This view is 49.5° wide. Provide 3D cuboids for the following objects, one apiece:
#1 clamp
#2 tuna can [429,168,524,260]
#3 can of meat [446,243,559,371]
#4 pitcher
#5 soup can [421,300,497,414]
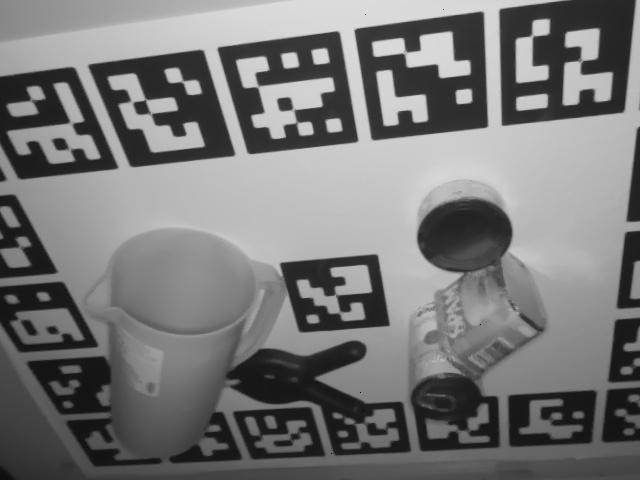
[{"bbox_3d":[-0.001,0.155,0.800,0.164,0.037,0.121,-2,129,10],"label":"clamp"},{"bbox_3d":[0.146,-0.025,0.652,0.086,0.034,0.085,2,123,4],"label":"tuna can"},{"bbox_3d":[0.174,0.060,0.664,0.058,0.103,0.082,41,115,-20],"label":"can of meat"},{"bbox_3d":[-0.135,0.110,0.704,0.191,0.133,0.239,-2,135,-21],"label":"pitcher"},{"bbox_3d":[0.140,0.118,0.712,0.068,0.103,0.067,1,123,2],"label":"soup can"}]
